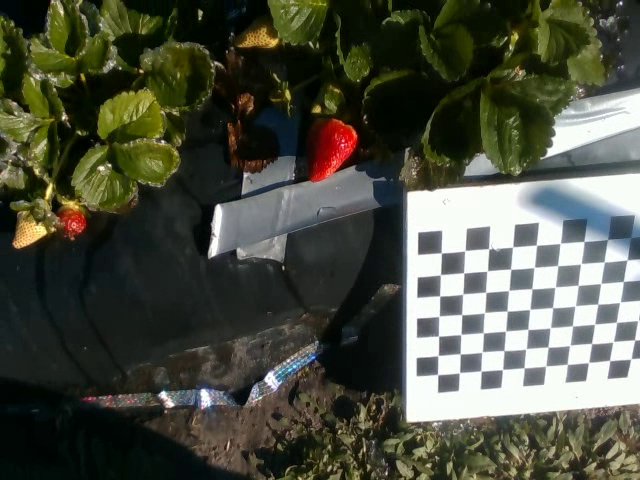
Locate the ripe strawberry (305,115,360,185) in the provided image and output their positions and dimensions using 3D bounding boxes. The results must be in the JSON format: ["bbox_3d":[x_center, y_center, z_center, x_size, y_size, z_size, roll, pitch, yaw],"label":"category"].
[{"bbox_3d":[0.010,-0.082,0.553,0.061,0.065,0.057,26,-26,-16],"label":"ripe strawberry"}]
